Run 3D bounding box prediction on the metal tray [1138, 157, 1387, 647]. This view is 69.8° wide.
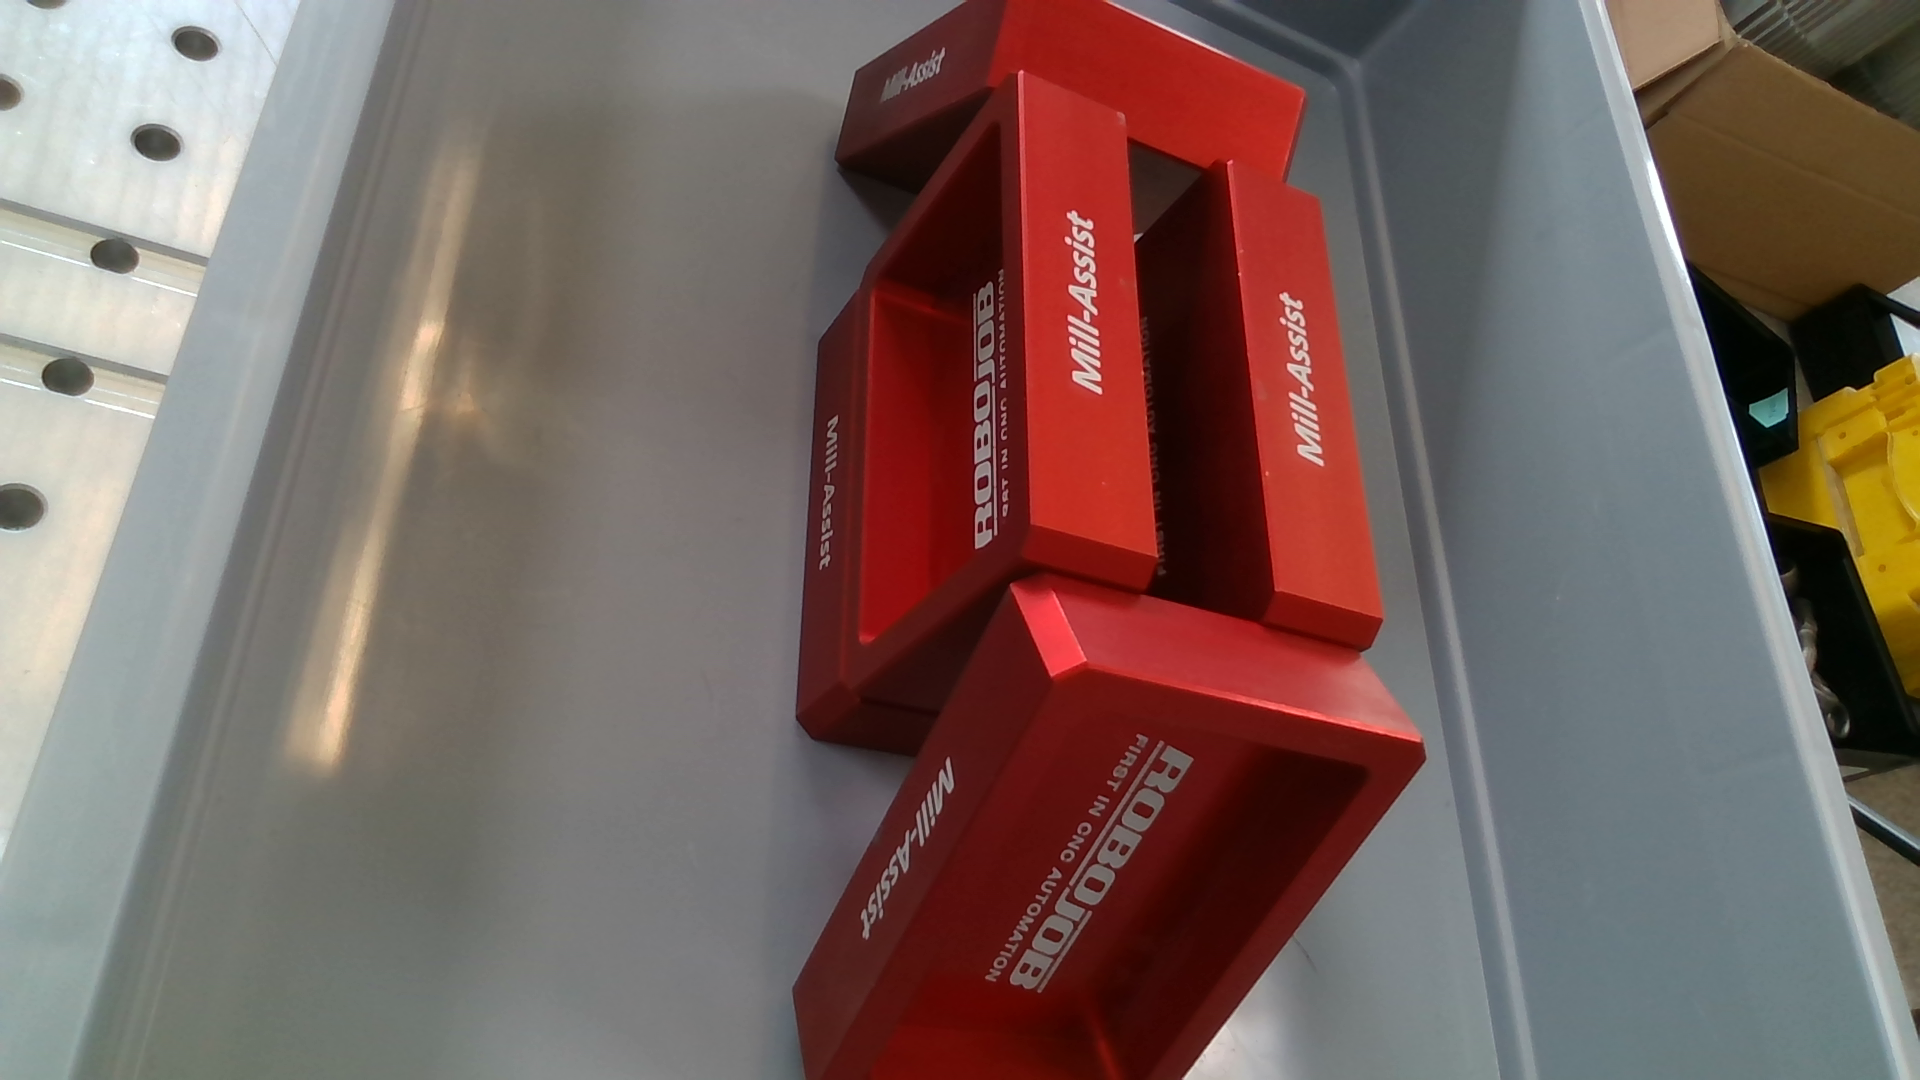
[{"bbox_3d":[0.059,-0.021,0.358,0.030,0.090,0.130,15,59,-25],"label":"metal tray"}]

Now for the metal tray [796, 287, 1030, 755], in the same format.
[{"bbox_3d":[0.003,-0.003,0.393,0.090,0.030,0.130,14,59,-25],"label":"metal tray"}]

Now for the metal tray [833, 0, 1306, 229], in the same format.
[{"bbox_3d":[0.026,-0.121,0.407,0.090,0.130,0.030,14,90,-24],"label":"metal tray"}]

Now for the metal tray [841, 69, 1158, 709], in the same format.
[{"bbox_3d":[0.006,-0.034,0.333,0.030,0.090,0.130,14,59,-25],"label":"metal tray"}]

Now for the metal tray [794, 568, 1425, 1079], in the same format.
[{"bbox_3d":[0.028,0.074,0.303,0.090,0.130,0.030,14,29,-24],"label":"metal tray"}]
